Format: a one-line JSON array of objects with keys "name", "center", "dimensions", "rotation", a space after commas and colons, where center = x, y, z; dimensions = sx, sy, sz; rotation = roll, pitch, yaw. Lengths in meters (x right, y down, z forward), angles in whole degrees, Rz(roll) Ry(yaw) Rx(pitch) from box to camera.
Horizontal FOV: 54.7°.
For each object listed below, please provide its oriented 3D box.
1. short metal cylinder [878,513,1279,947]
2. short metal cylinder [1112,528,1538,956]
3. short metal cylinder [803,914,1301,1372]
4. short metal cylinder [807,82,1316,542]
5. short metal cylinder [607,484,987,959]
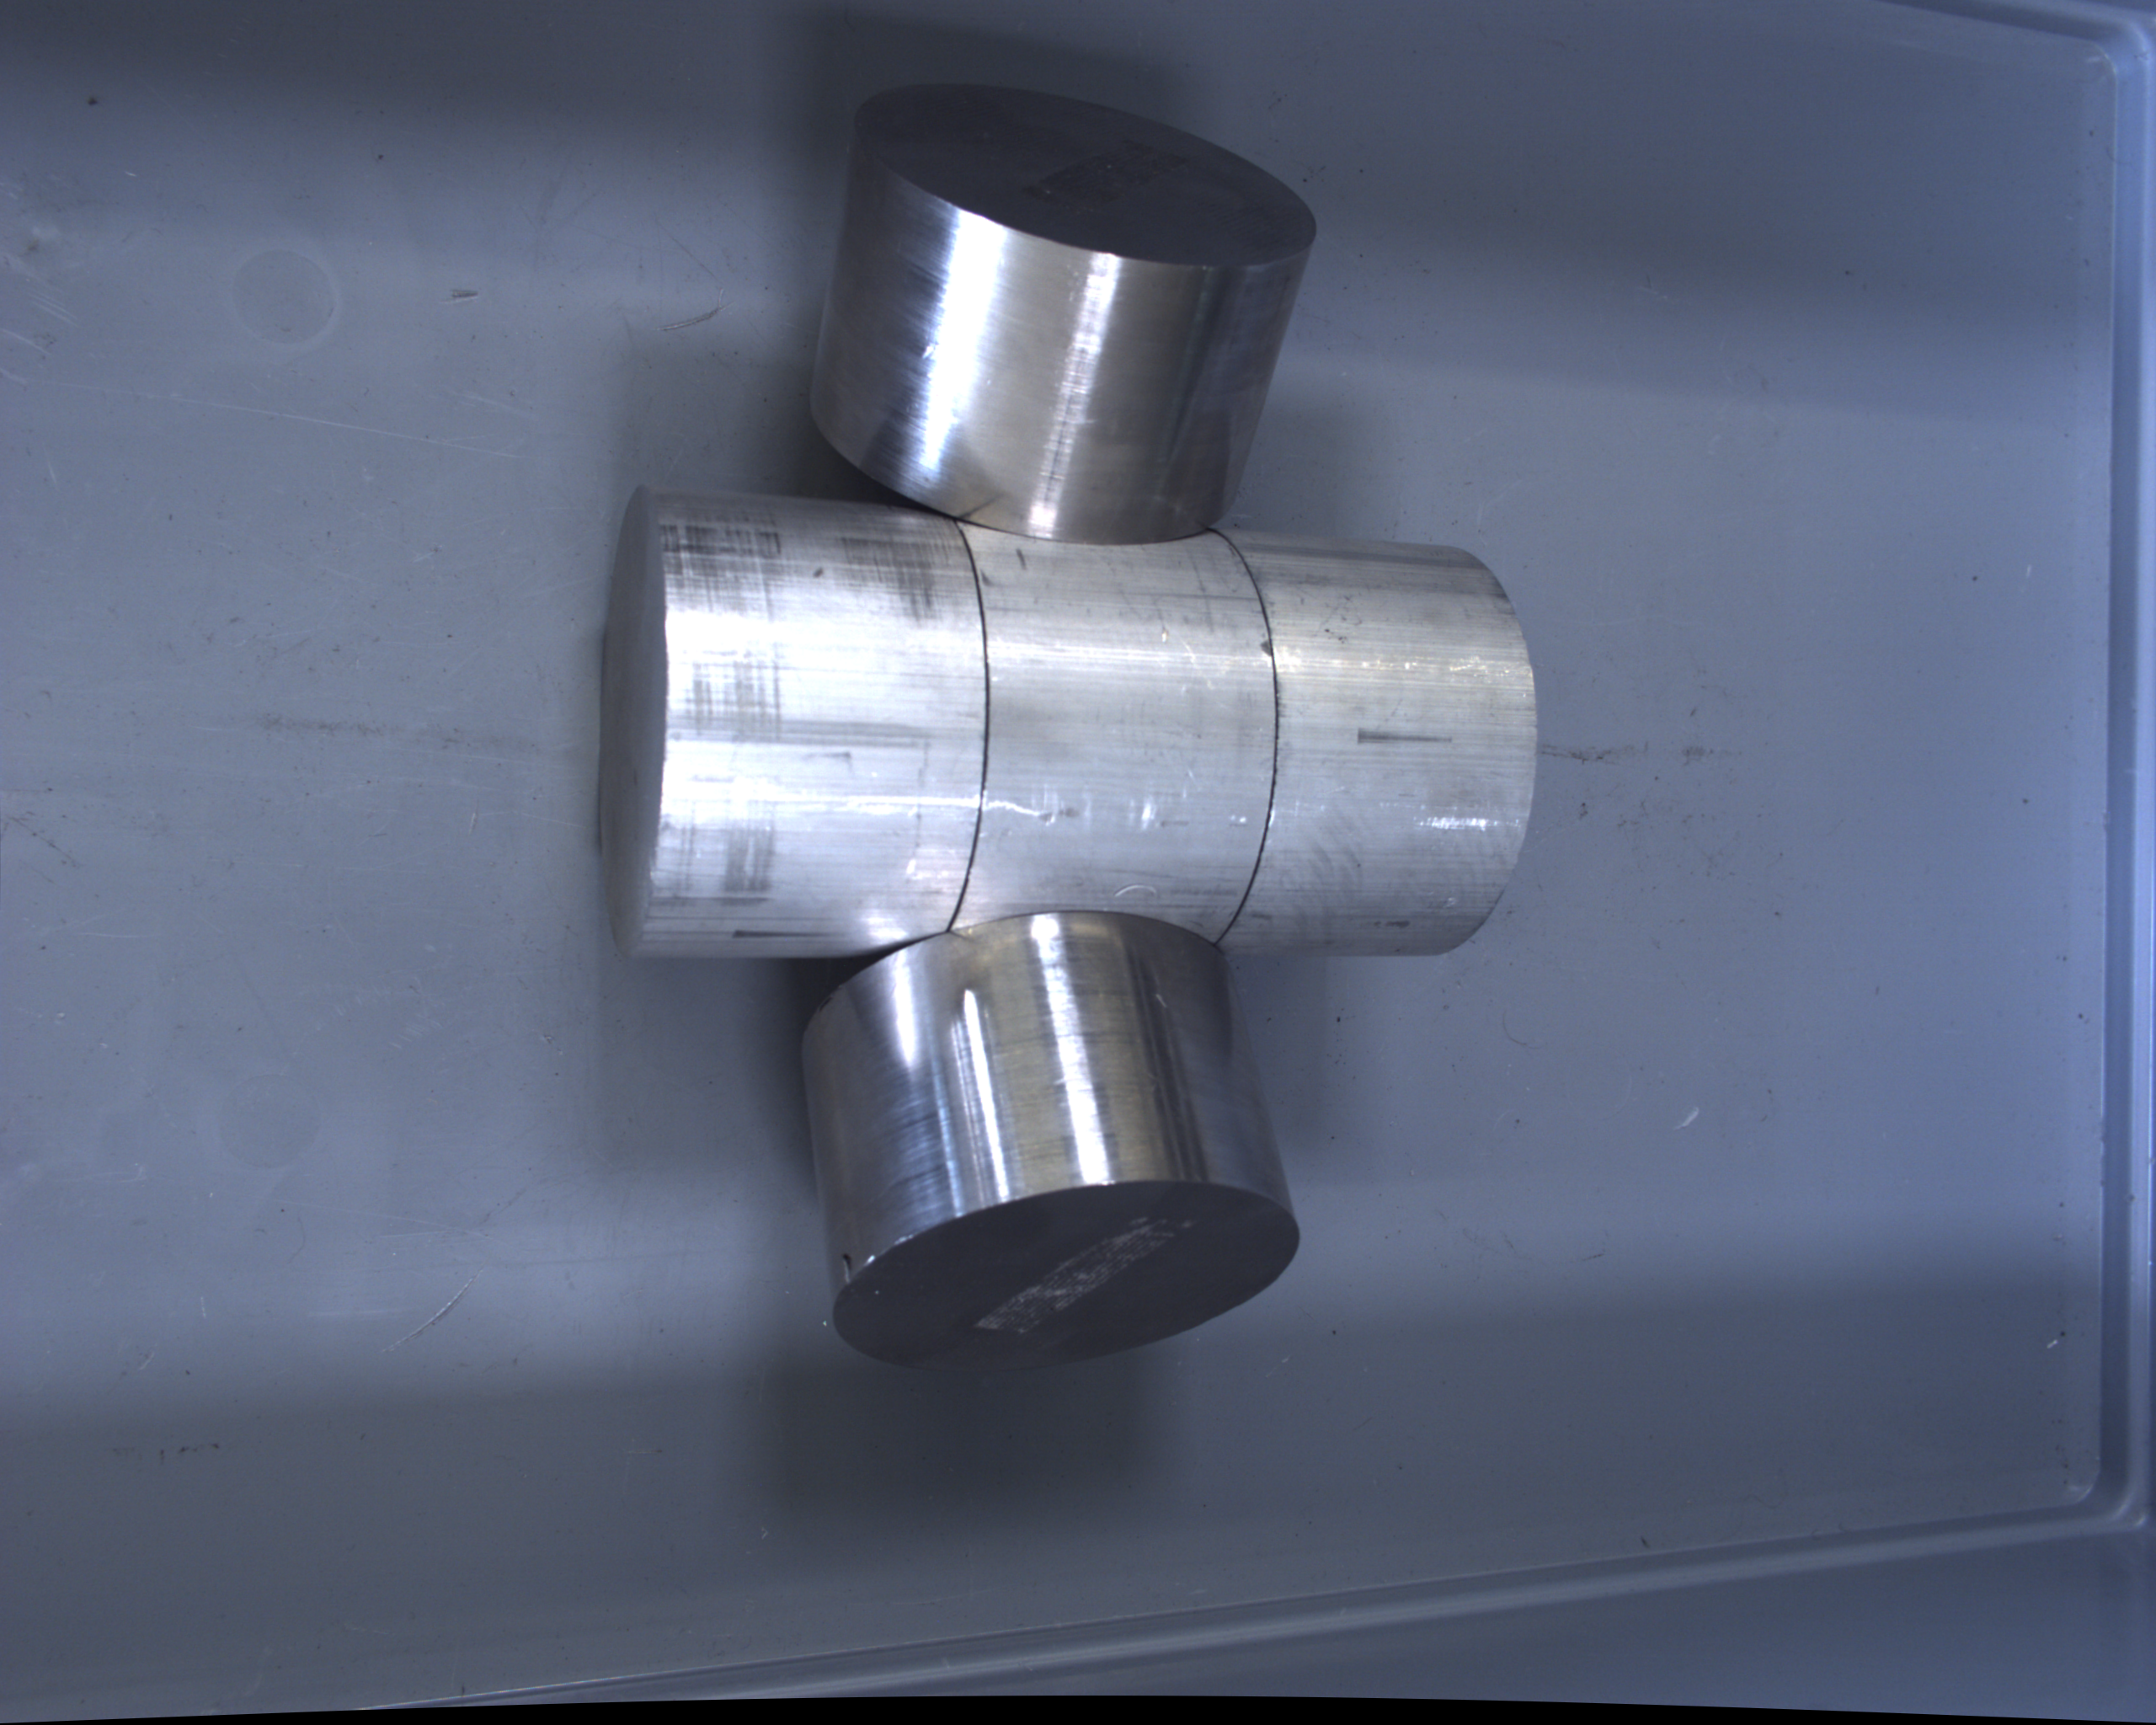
[{"name": "short metal cylinder", "center": [-0.004, -0.022, 0.378], "dimensions": [0.050, 0.080, 0.080], "rotation": [1, 90, -20]}, {"name": "short metal cylinder", "center": [0.044, -0.022, 0.396], "dimensions": [0.050, 0.080, 0.080], "rotation": [1, 90, -20]}, {"name": "short metal cylinder", "center": [-0.006, 0.052, 0.370], "dimensions": [0.081, 0.080, 0.050], "rotation": [0, 56, -20]}, {"name": "short metal cylinder", "center": [-0.004, -0.099, 0.370], "dimensions": [0.081, 0.080, 0.050], "rotation": [2, 127, -20]}, {"name": "short metal cylinder", "center": [-0.052, -0.023, 0.361], "dimensions": [0.050, 0.080, 0.080], "rotation": [1, 90, -20]}]
